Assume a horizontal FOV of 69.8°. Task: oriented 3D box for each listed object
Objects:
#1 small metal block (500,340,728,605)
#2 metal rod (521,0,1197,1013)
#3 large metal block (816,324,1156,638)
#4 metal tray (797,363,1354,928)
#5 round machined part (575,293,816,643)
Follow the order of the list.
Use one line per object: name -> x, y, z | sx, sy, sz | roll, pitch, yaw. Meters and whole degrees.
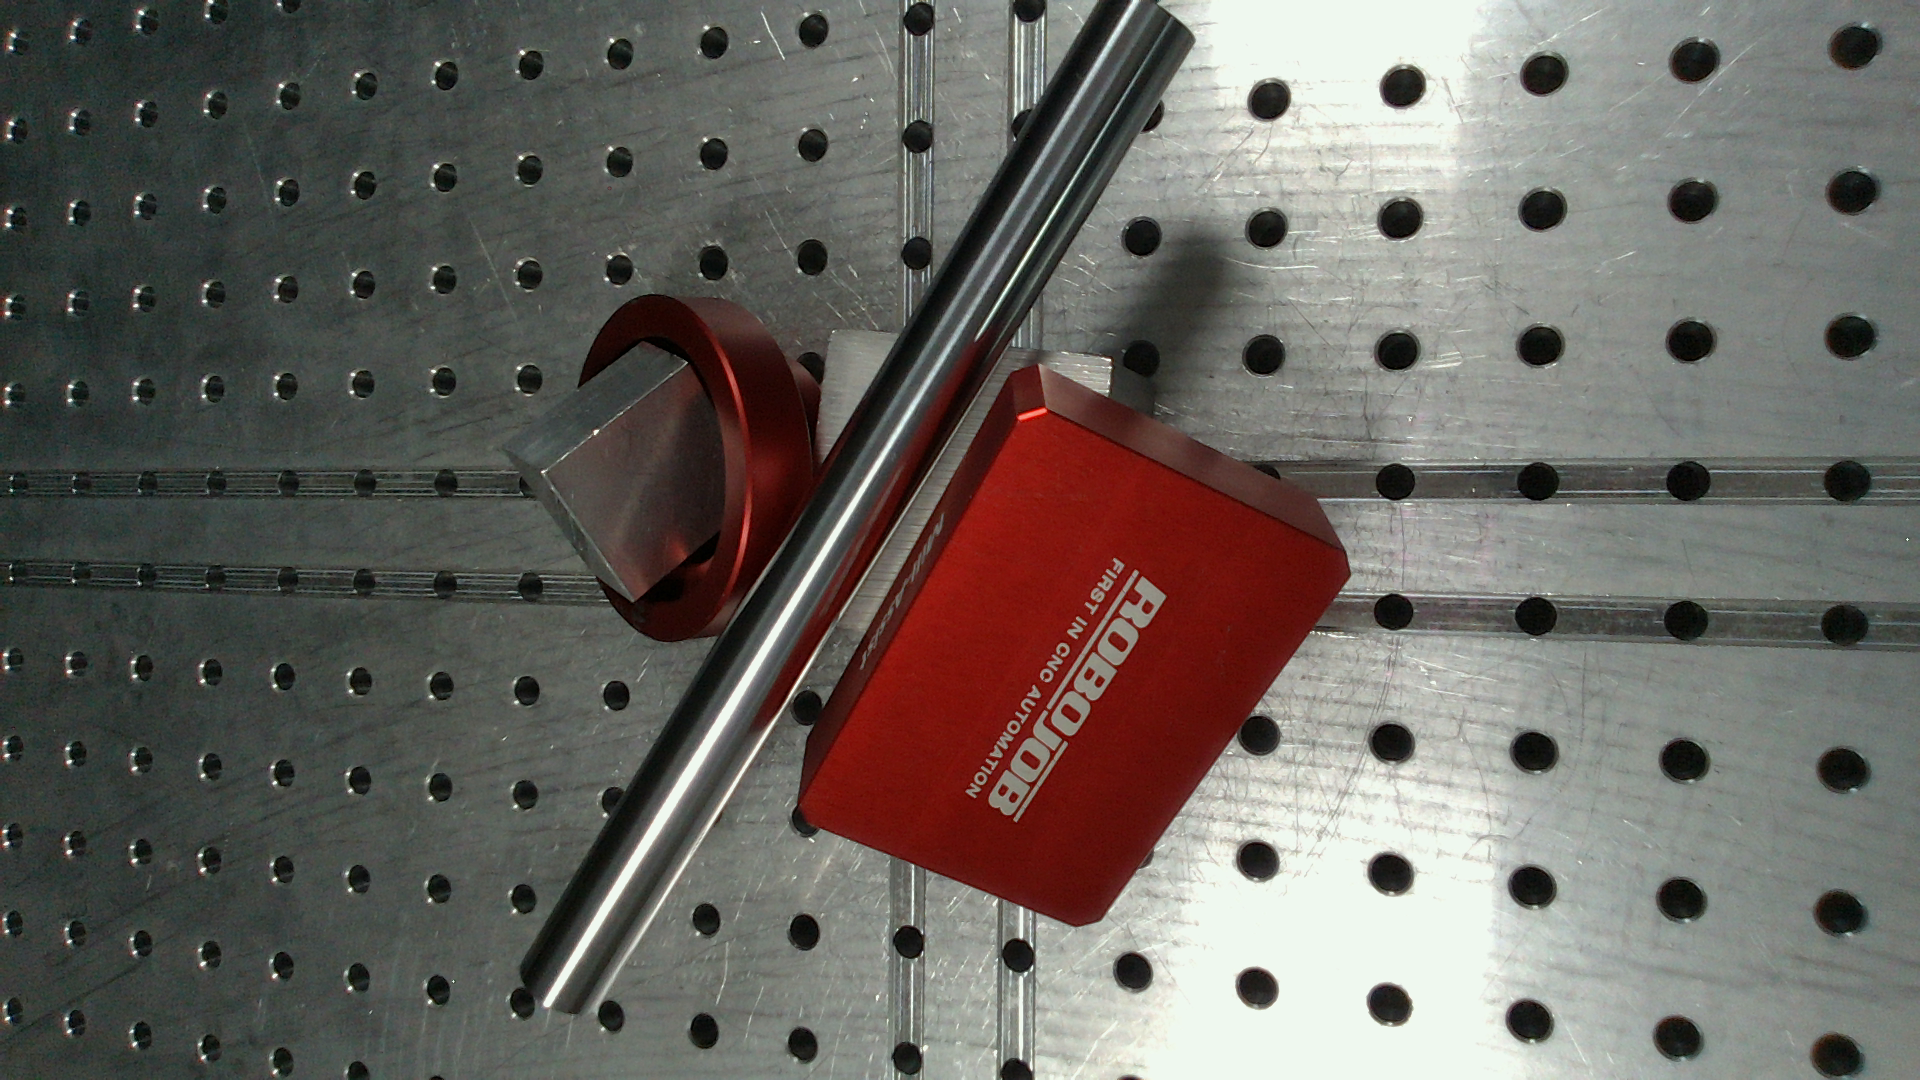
small metal block -> -0.091, -0.019, 0.388 | 0.050, 0.050, 0.025 | -42, 43, -20
metal rod -> -0.033, -0.001, 0.357 | 0.025, 0.025, 0.300 | 36, 102, 16
large metal block -> 0.005, -0.013, 0.383 | 0.080, 0.050, 0.080 | 9, 93, 20
metal tray -> 0.025, 0.032, 0.351 | 0.090, 0.030, 0.130 | 24, 115, -13
round machined part -> -0.072, -0.021, 0.401 | 0.098, 0.042, 0.098 | 4, 96, 45
